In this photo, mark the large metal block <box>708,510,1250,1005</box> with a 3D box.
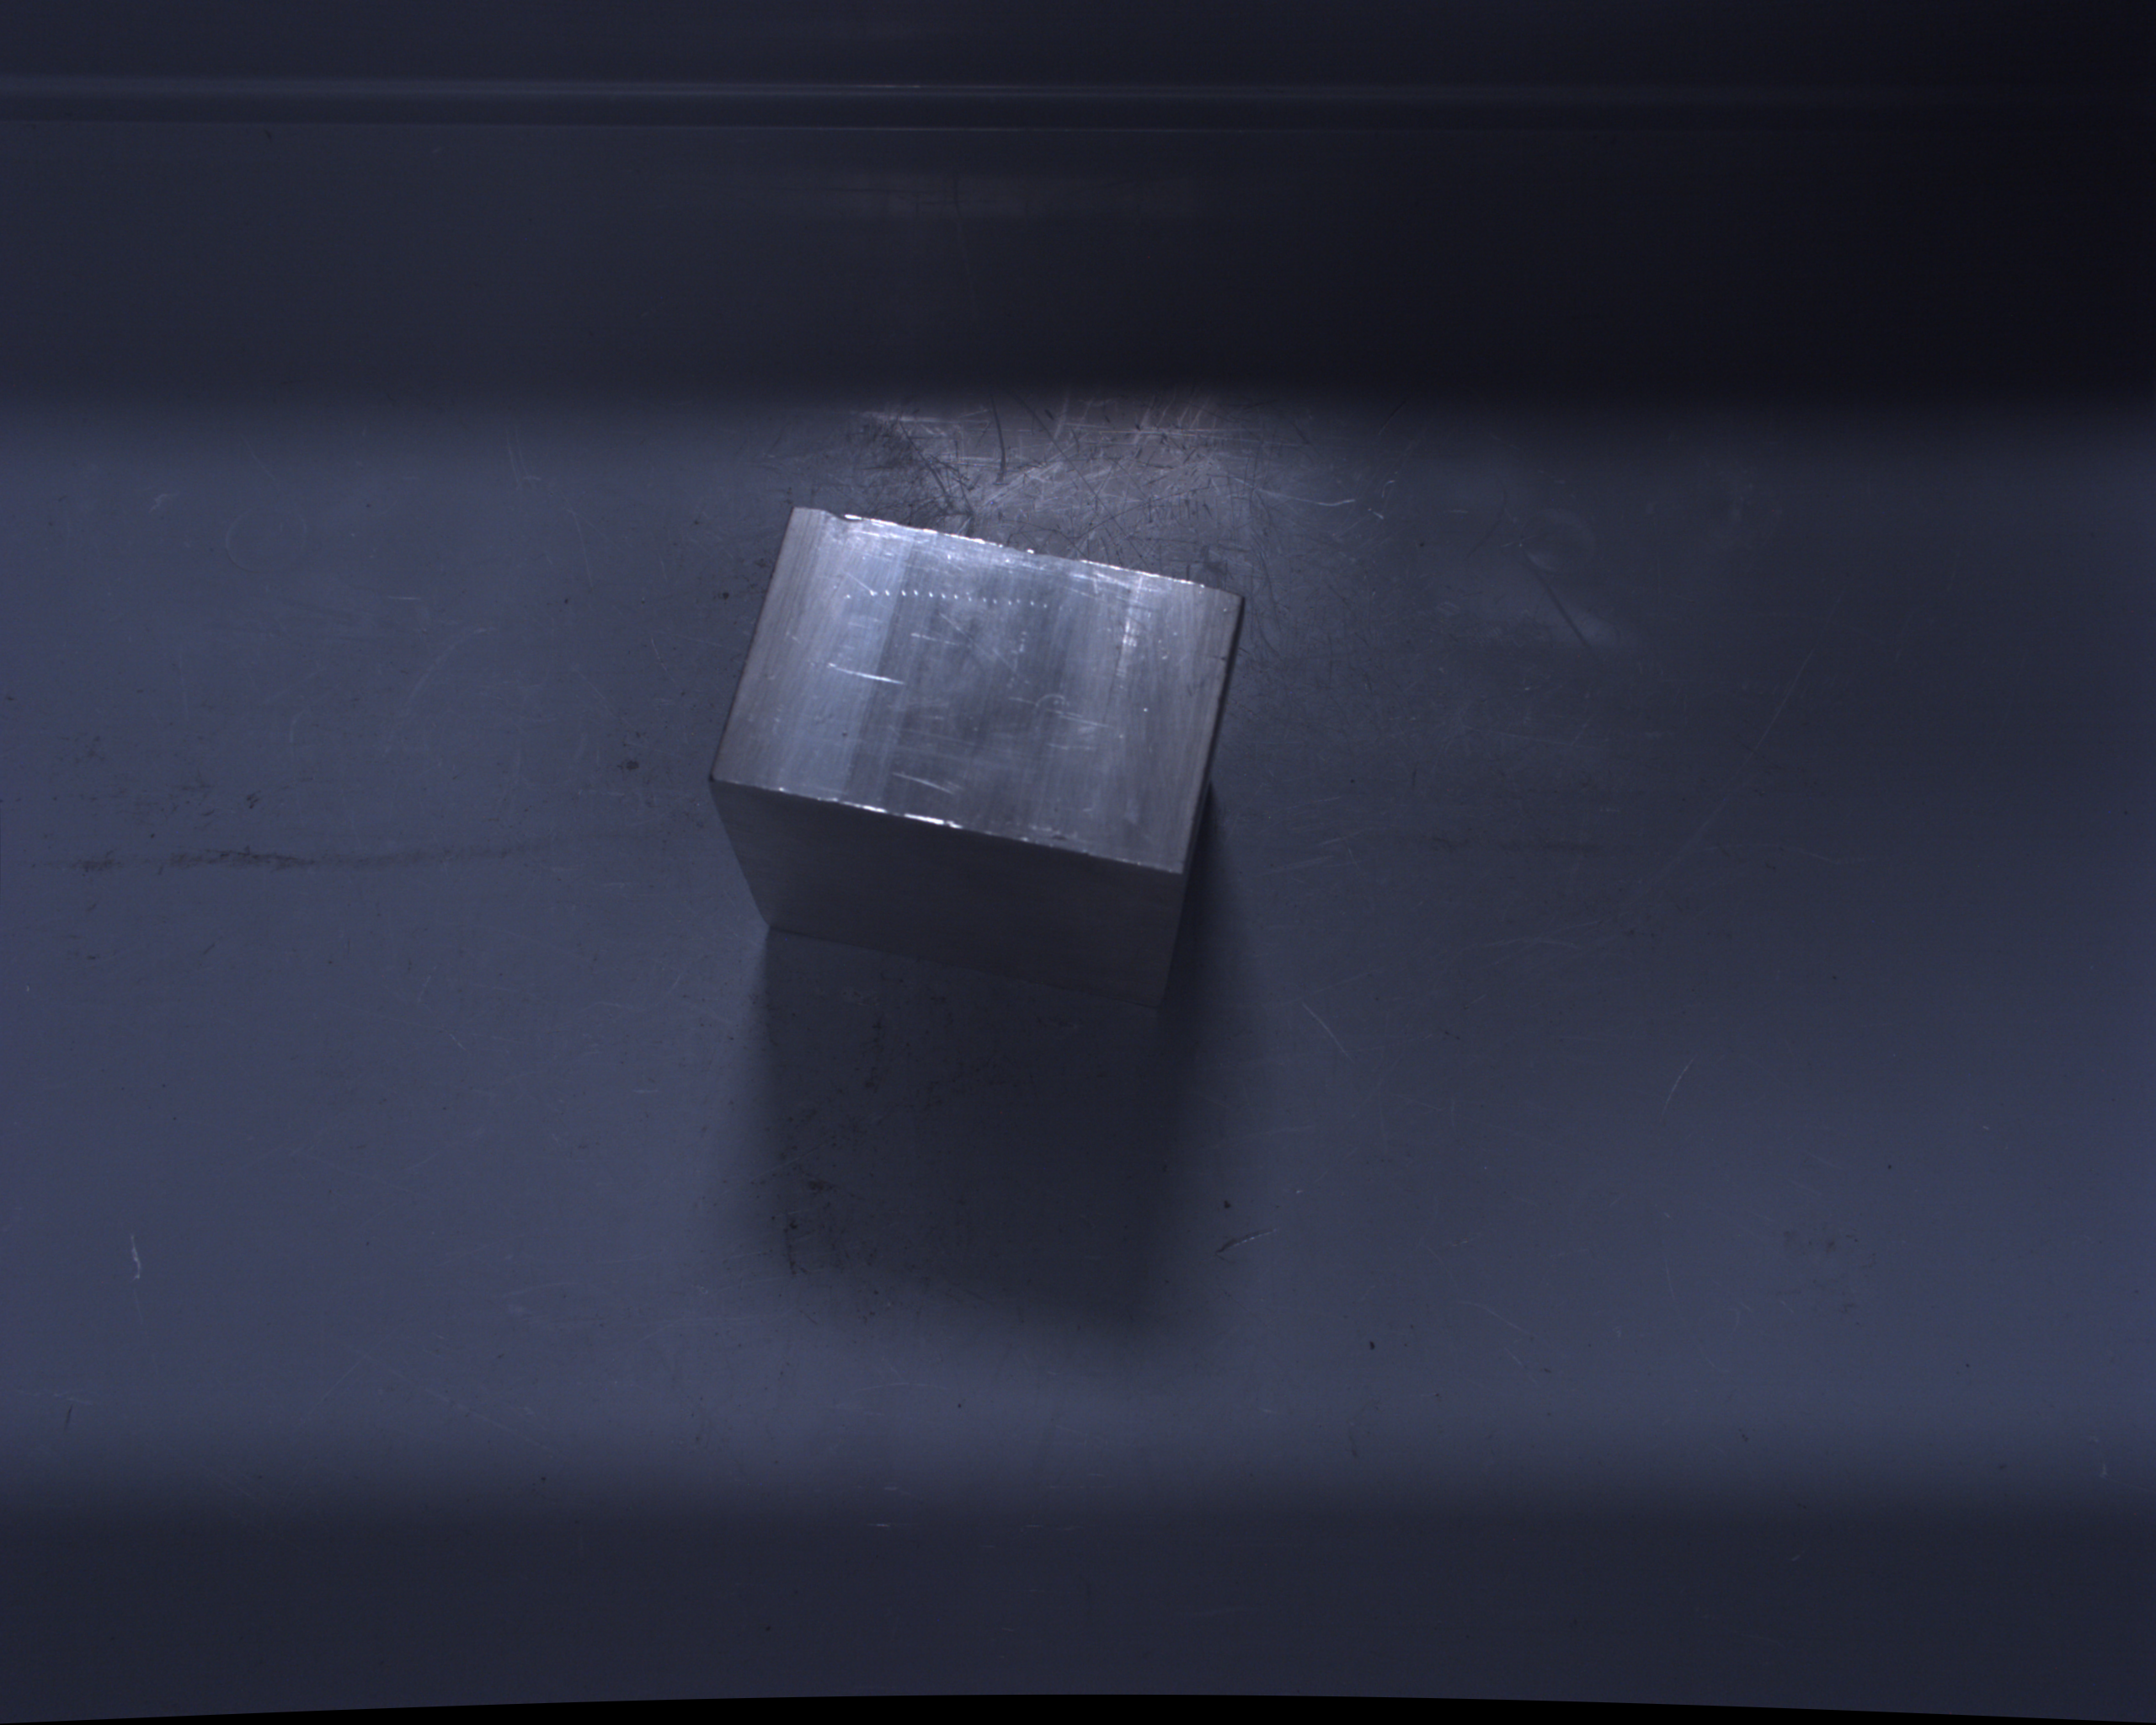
[{"bbox_3d":[-0.016,-0.016,0.384,0.080,0.080,0.050,12,71,4],"label":"large metal block"}]
